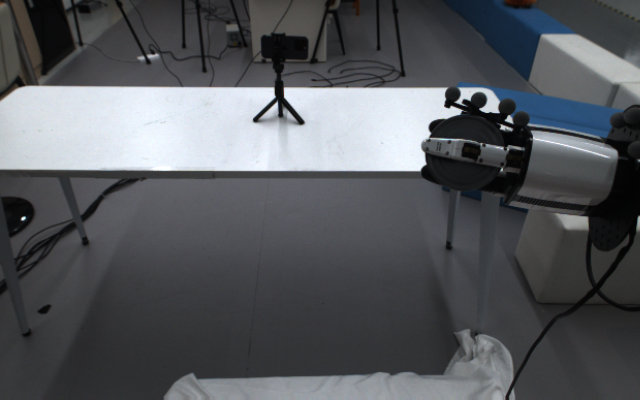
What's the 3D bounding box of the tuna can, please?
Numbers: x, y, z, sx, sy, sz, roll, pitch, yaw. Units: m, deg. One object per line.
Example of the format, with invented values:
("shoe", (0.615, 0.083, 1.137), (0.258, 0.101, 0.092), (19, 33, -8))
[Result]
("tuna can", (0.167, -0.054, 0.555), (0.085, 0.085, 0.034), (13, 3, 15))
